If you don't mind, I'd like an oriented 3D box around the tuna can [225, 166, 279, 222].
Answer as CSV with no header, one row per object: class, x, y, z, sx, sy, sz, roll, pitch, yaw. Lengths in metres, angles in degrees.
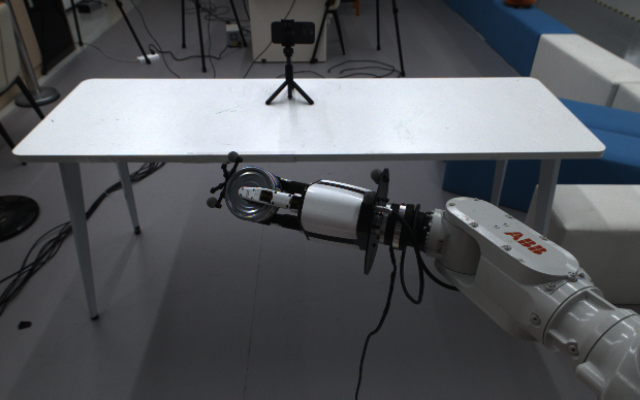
tuna can,-0.102,-0.010,0.752,0.085,0.085,0.034,12,-3,14
